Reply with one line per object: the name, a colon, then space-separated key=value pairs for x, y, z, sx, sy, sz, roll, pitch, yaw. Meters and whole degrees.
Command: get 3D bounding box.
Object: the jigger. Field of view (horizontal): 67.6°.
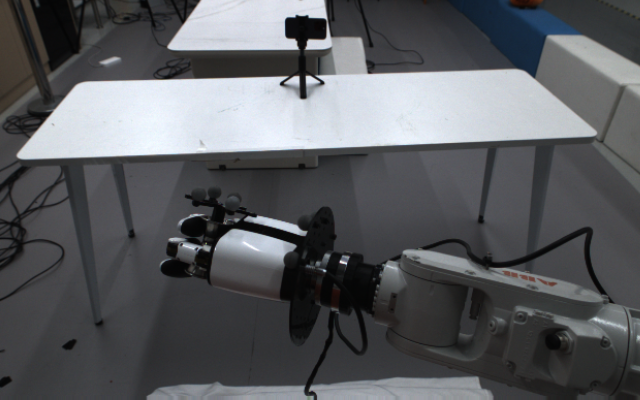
jigger: x=-0.130 y=0.056 z=0.577 sx=0.043 sy=0.071 sz=0.043 roll=17 pitch=2 yaw=-1
